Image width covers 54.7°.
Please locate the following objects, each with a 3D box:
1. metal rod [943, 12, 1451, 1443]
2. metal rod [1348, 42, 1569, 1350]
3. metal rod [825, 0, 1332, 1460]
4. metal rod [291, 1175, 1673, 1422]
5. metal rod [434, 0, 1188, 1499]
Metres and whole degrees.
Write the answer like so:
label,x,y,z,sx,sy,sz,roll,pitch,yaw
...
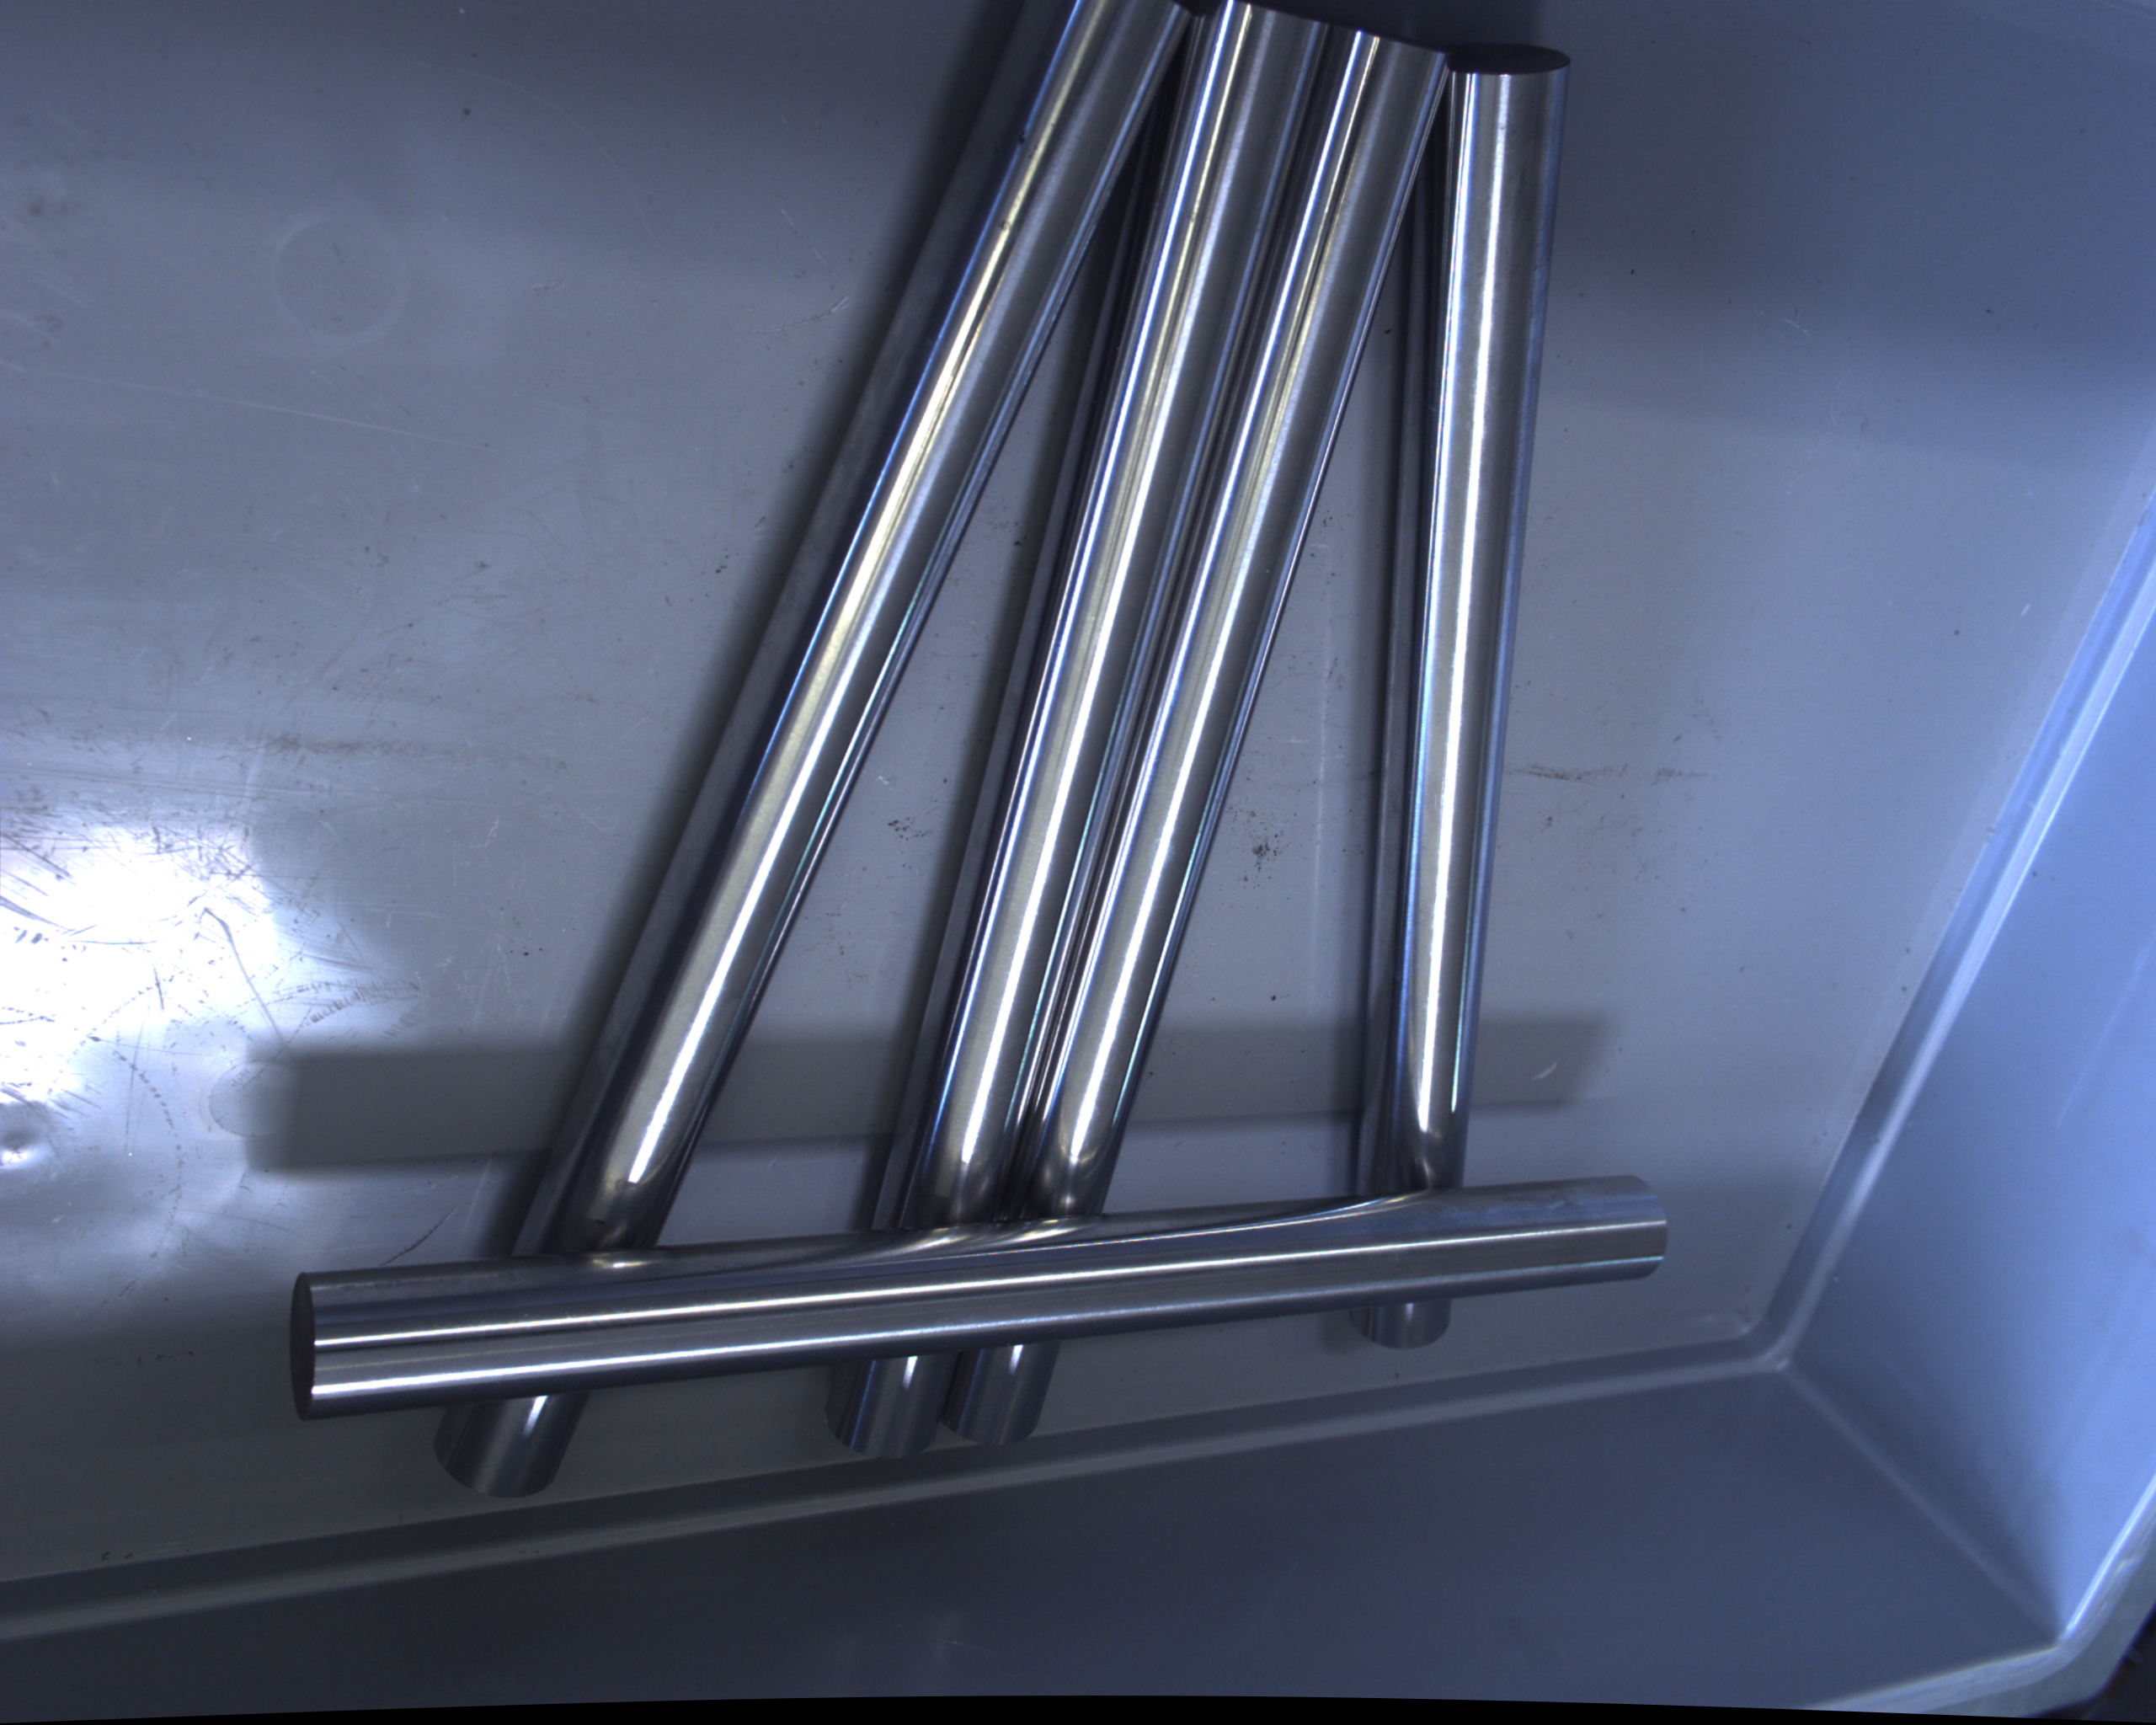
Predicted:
label,x,y,z,sx,sy,sz,roll,pitch,yaw
metal rod,0.014,-0.008,0.410,0.025,0.025,0.298,1,118,-29
metal rod,0.076,-0.013,0.440,0.025,0.025,0.298,-15,125,-20
metal rod,-0.007,-0.008,0.398,0.025,0.025,0.298,1,118,-29
metal rod,0.001,0.085,0.426,0.303,0.025,0.025,1,118,-29
metal rod,-0.055,-0.010,0.371,0.025,0.025,0.298,13,112,-34
